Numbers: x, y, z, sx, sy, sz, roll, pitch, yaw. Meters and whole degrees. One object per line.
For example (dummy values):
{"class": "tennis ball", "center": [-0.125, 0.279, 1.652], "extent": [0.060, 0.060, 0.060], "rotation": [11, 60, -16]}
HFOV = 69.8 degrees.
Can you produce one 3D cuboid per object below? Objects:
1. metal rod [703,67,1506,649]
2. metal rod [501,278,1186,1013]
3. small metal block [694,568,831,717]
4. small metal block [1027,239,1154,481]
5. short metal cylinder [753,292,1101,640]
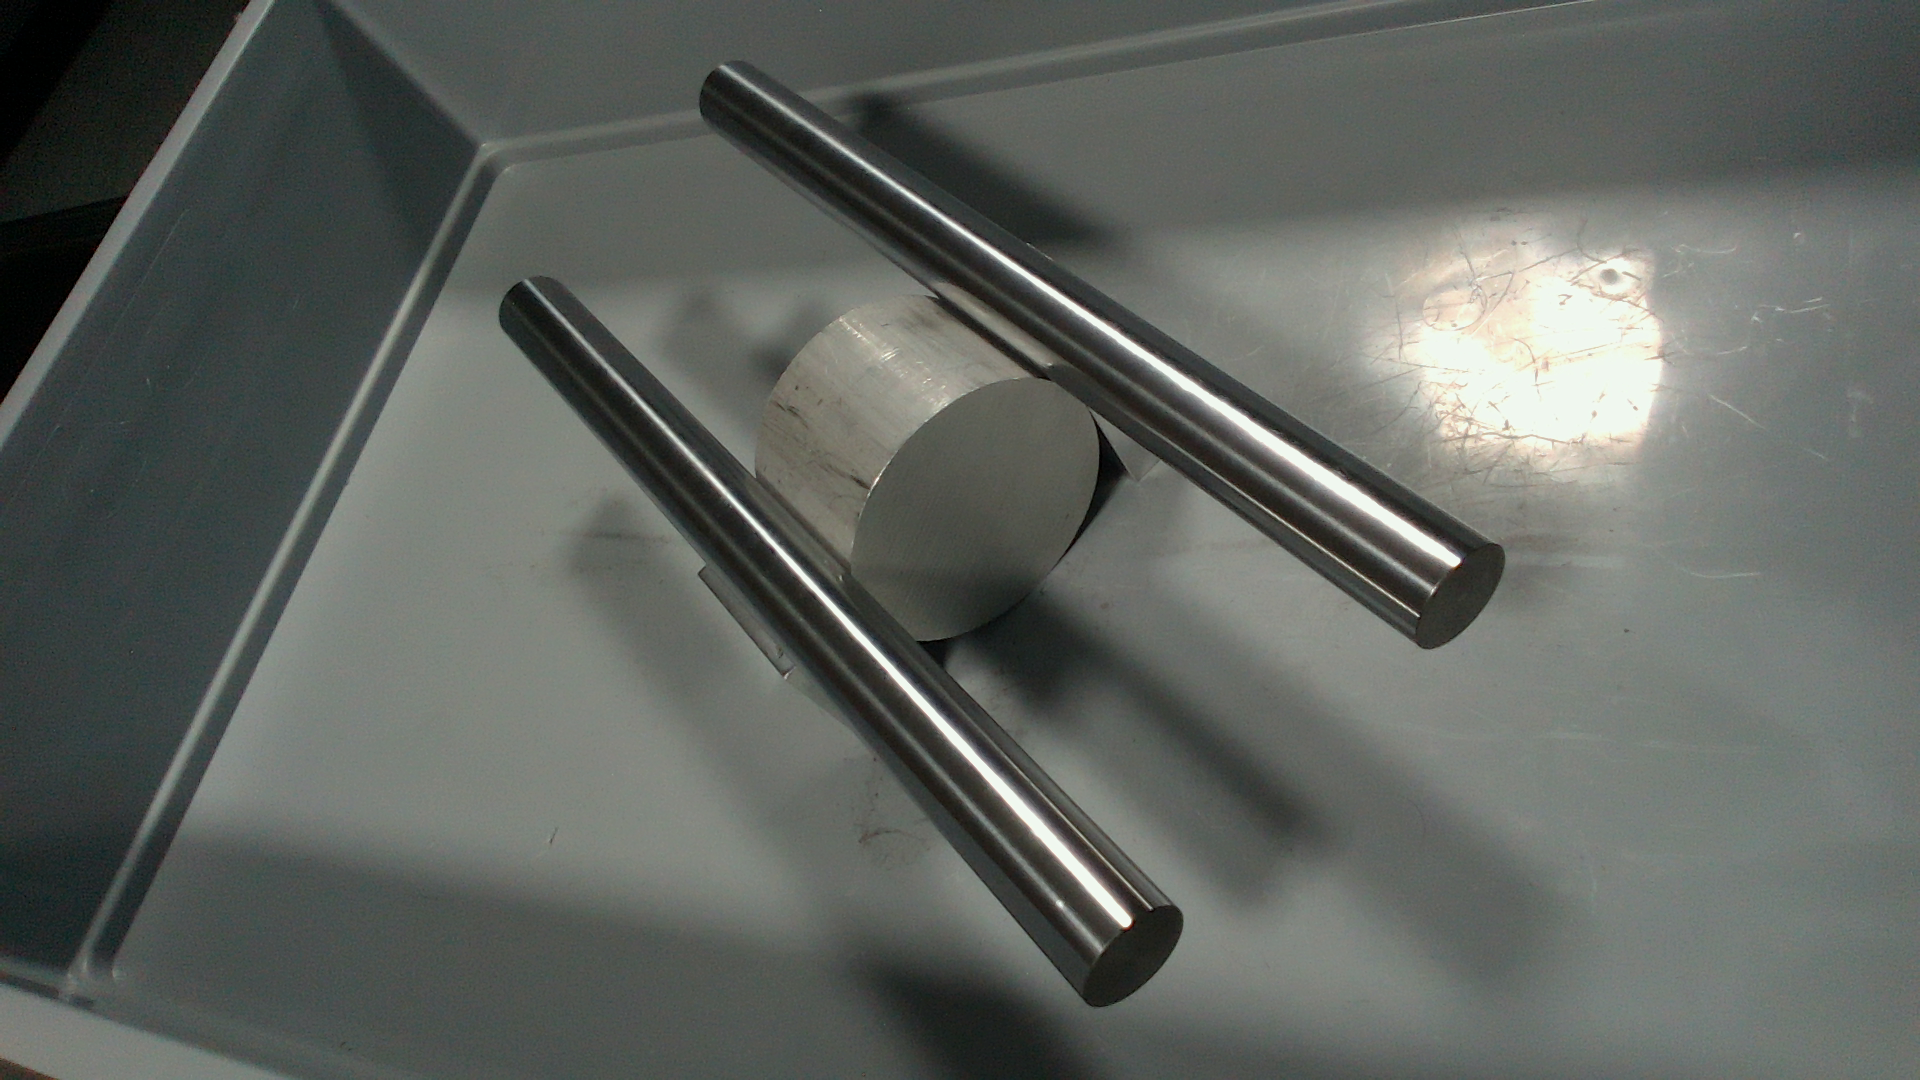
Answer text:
{"class": "metal rod", "center": [0.012, -0.067, 0.363], "extent": [0.025, 0.025, 0.299], "rotation": [-45, 51, -3]}
{"class": "metal rod", "center": [-0.052, 0.003, 0.356], "extent": [0.025, 0.025, 0.299], "rotation": [-45, 50, -3]}
{"class": "small metal block", "center": [-0.040, 0.025, 0.382], "extent": [0.025, 0.050, 0.050], "rotation": [-45, 51, -3]}
{"class": "small metal block", "center": [0.035, -0.051, 0.388], "extent": [0.025, 0.050, 0.050], "rotation": [-45, 51, -3]}
{"class": "short metal cylinder", "center": [-0.009, -0.020, 0.374], "extent": [0.080, 0.080, 0.050], "rotation": [-45, 51, -3]}
